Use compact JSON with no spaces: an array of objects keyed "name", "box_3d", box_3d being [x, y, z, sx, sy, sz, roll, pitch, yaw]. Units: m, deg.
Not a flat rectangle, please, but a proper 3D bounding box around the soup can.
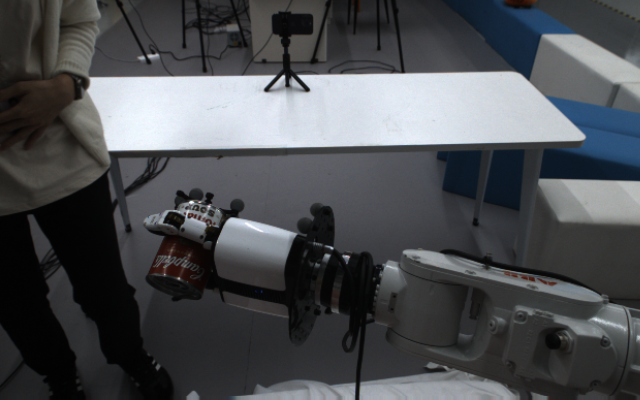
[{"name":"soup can","box_3d":[-0.154,0.059,0.575,0.067,0.067,0.101,9,57,10]}]
